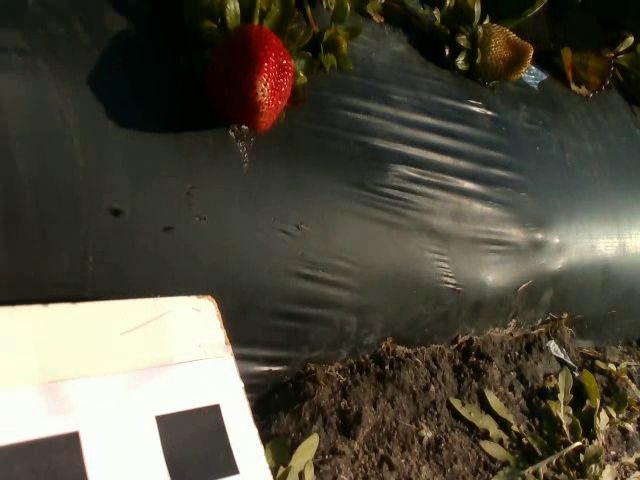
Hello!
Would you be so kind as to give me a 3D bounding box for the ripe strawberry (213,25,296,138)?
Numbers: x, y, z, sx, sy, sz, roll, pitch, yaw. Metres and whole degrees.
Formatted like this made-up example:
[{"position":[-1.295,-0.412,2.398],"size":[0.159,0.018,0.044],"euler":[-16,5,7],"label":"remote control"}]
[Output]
[{"position":[-0.027,-0.061,0.261],"size":[0.042,0.059,0.042],"euler":[25,-58,-30],"label":"ripe strawberry"}]
